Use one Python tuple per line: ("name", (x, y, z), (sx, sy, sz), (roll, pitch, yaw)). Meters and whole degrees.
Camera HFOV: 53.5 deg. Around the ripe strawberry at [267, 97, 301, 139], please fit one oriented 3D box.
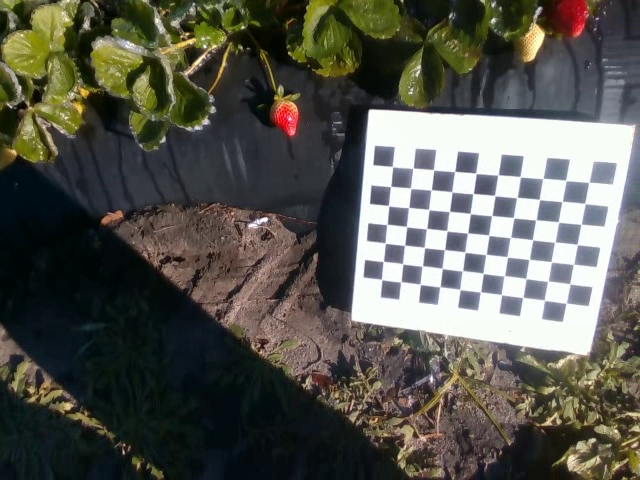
("ripe strawberry", (-0.039, -0.147, 0.749), (0.039, 0.053, 0.040), (-15, -6, 17))
